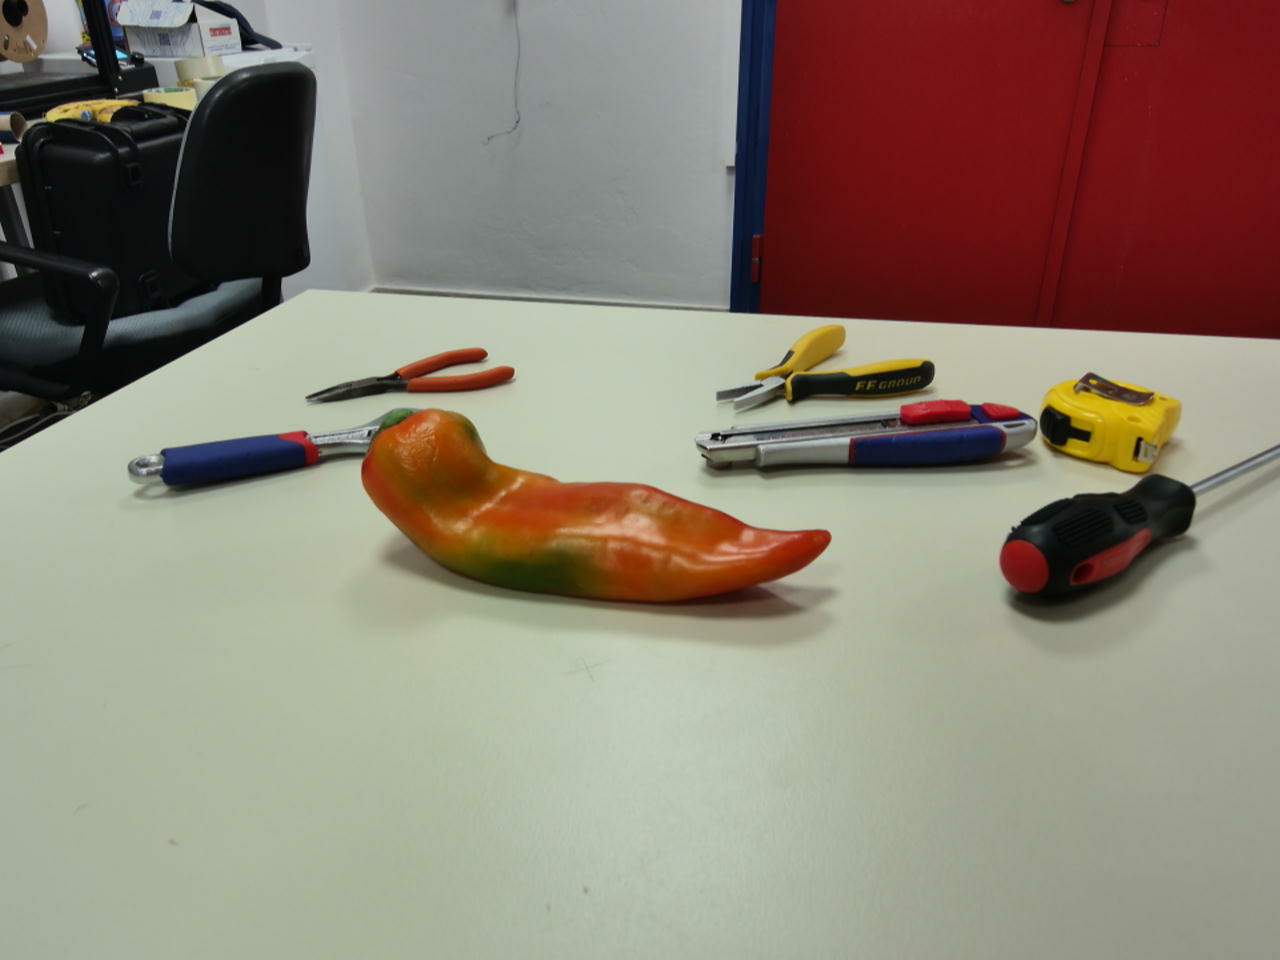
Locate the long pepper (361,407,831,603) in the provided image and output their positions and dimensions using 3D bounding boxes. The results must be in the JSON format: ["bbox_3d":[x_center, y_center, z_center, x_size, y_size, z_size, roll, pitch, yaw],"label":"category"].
[{"bbox_3d":[-0.022,0.009,0.414,0.199,0.065,0.066,7,25,17],"label":"long pepper"}]
